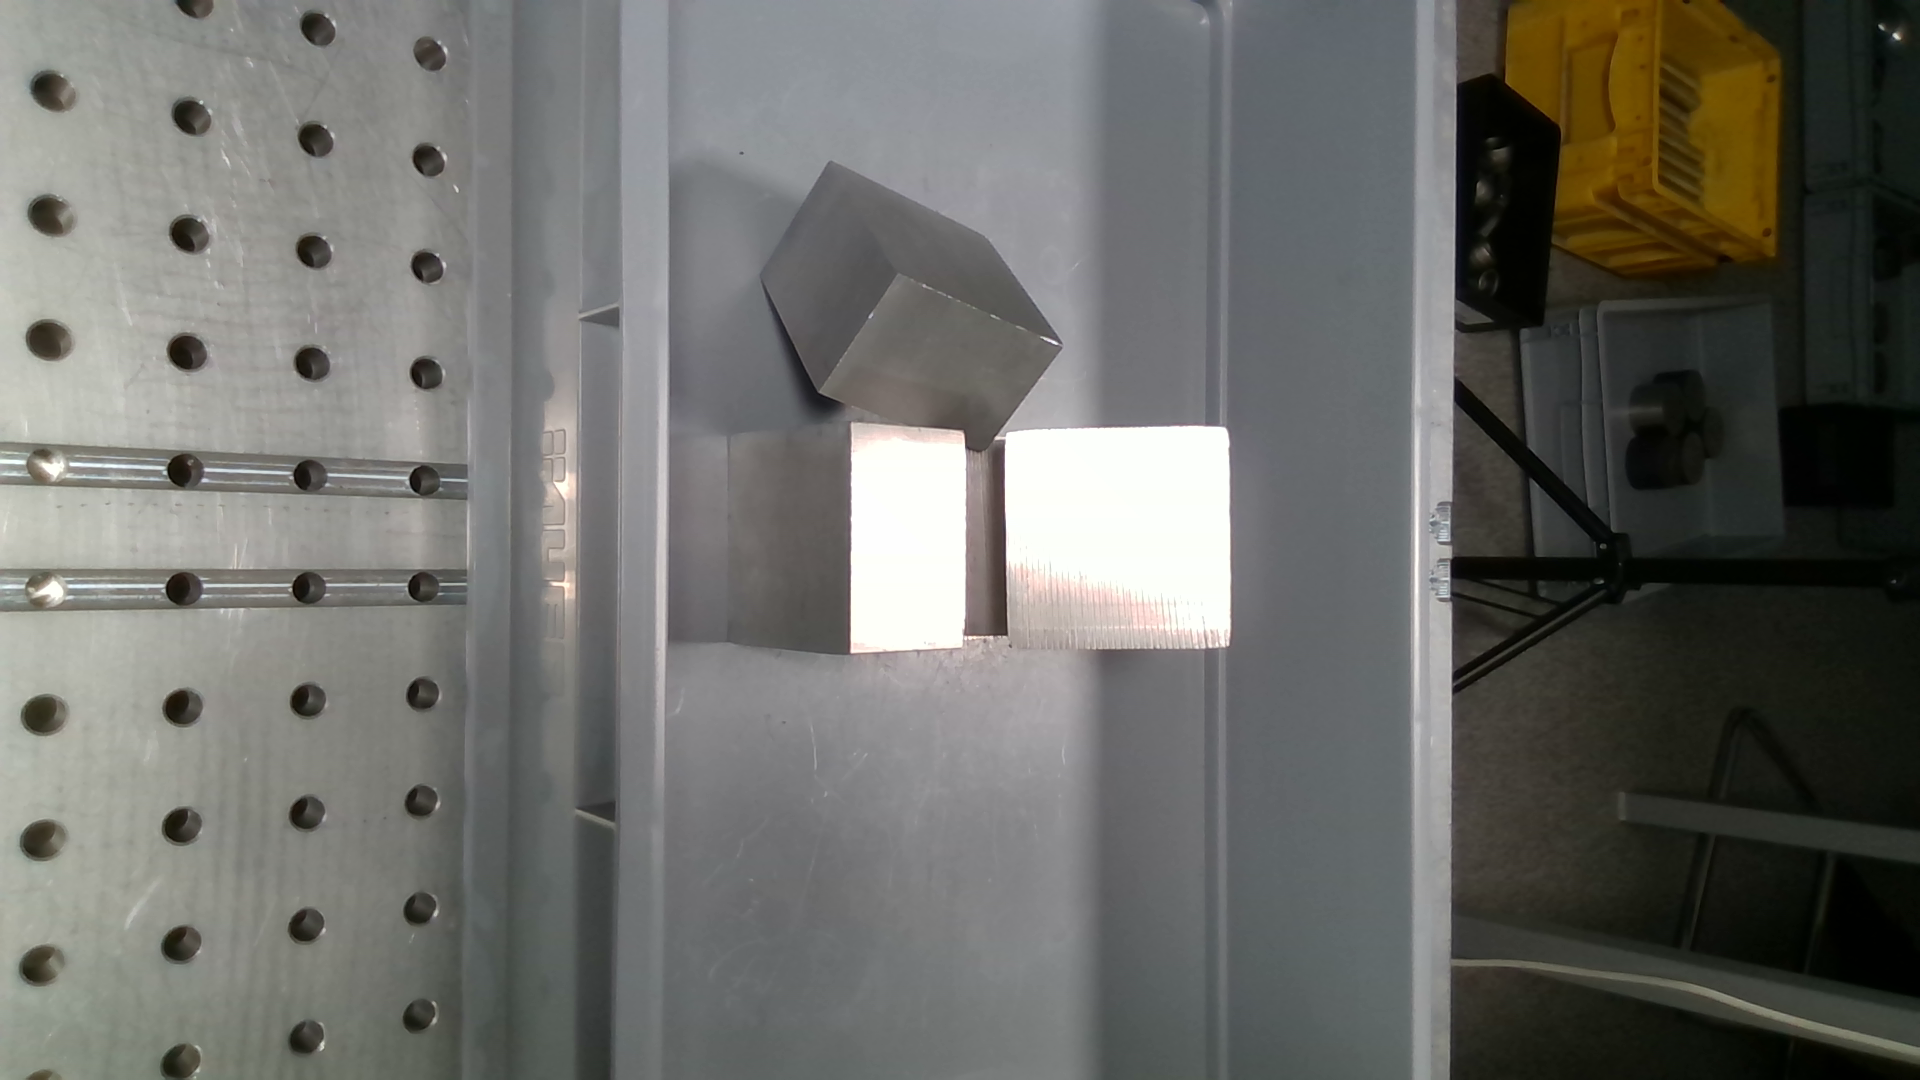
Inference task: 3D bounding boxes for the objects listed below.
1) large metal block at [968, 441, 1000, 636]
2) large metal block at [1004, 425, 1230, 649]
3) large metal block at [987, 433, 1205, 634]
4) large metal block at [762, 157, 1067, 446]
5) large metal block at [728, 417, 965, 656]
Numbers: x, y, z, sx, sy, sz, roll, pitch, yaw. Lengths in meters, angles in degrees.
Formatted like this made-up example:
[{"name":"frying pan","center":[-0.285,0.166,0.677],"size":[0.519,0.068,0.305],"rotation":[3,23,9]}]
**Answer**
[{"name":"large metal block","center":[-0.004,-0.003,0.564],"size":[0.080,0.050,0.080],"rotation":[-1,91,-40]},{"name":"large metal block","center":[0.059,-0.001,0.522],"size":[0.050,0.080,0.080],"rotation":[-9,98,-85]},{"name":"large metal block","center":[0.057,-0.003,0.593],"size":[0.050,0.080,0.080],"rotation":[-2,91,-40]},{"name":"large metal block","center":[-0.019,-0.089,0.519],"size":[0.080,0.080,0.050],"rotation":[16,123,-39]},{"name":"large metal block","center":[-0.043,-0.001,0.508],"size":[0.050,0.080,0.080],"rotation":[0,90,-40]}]
